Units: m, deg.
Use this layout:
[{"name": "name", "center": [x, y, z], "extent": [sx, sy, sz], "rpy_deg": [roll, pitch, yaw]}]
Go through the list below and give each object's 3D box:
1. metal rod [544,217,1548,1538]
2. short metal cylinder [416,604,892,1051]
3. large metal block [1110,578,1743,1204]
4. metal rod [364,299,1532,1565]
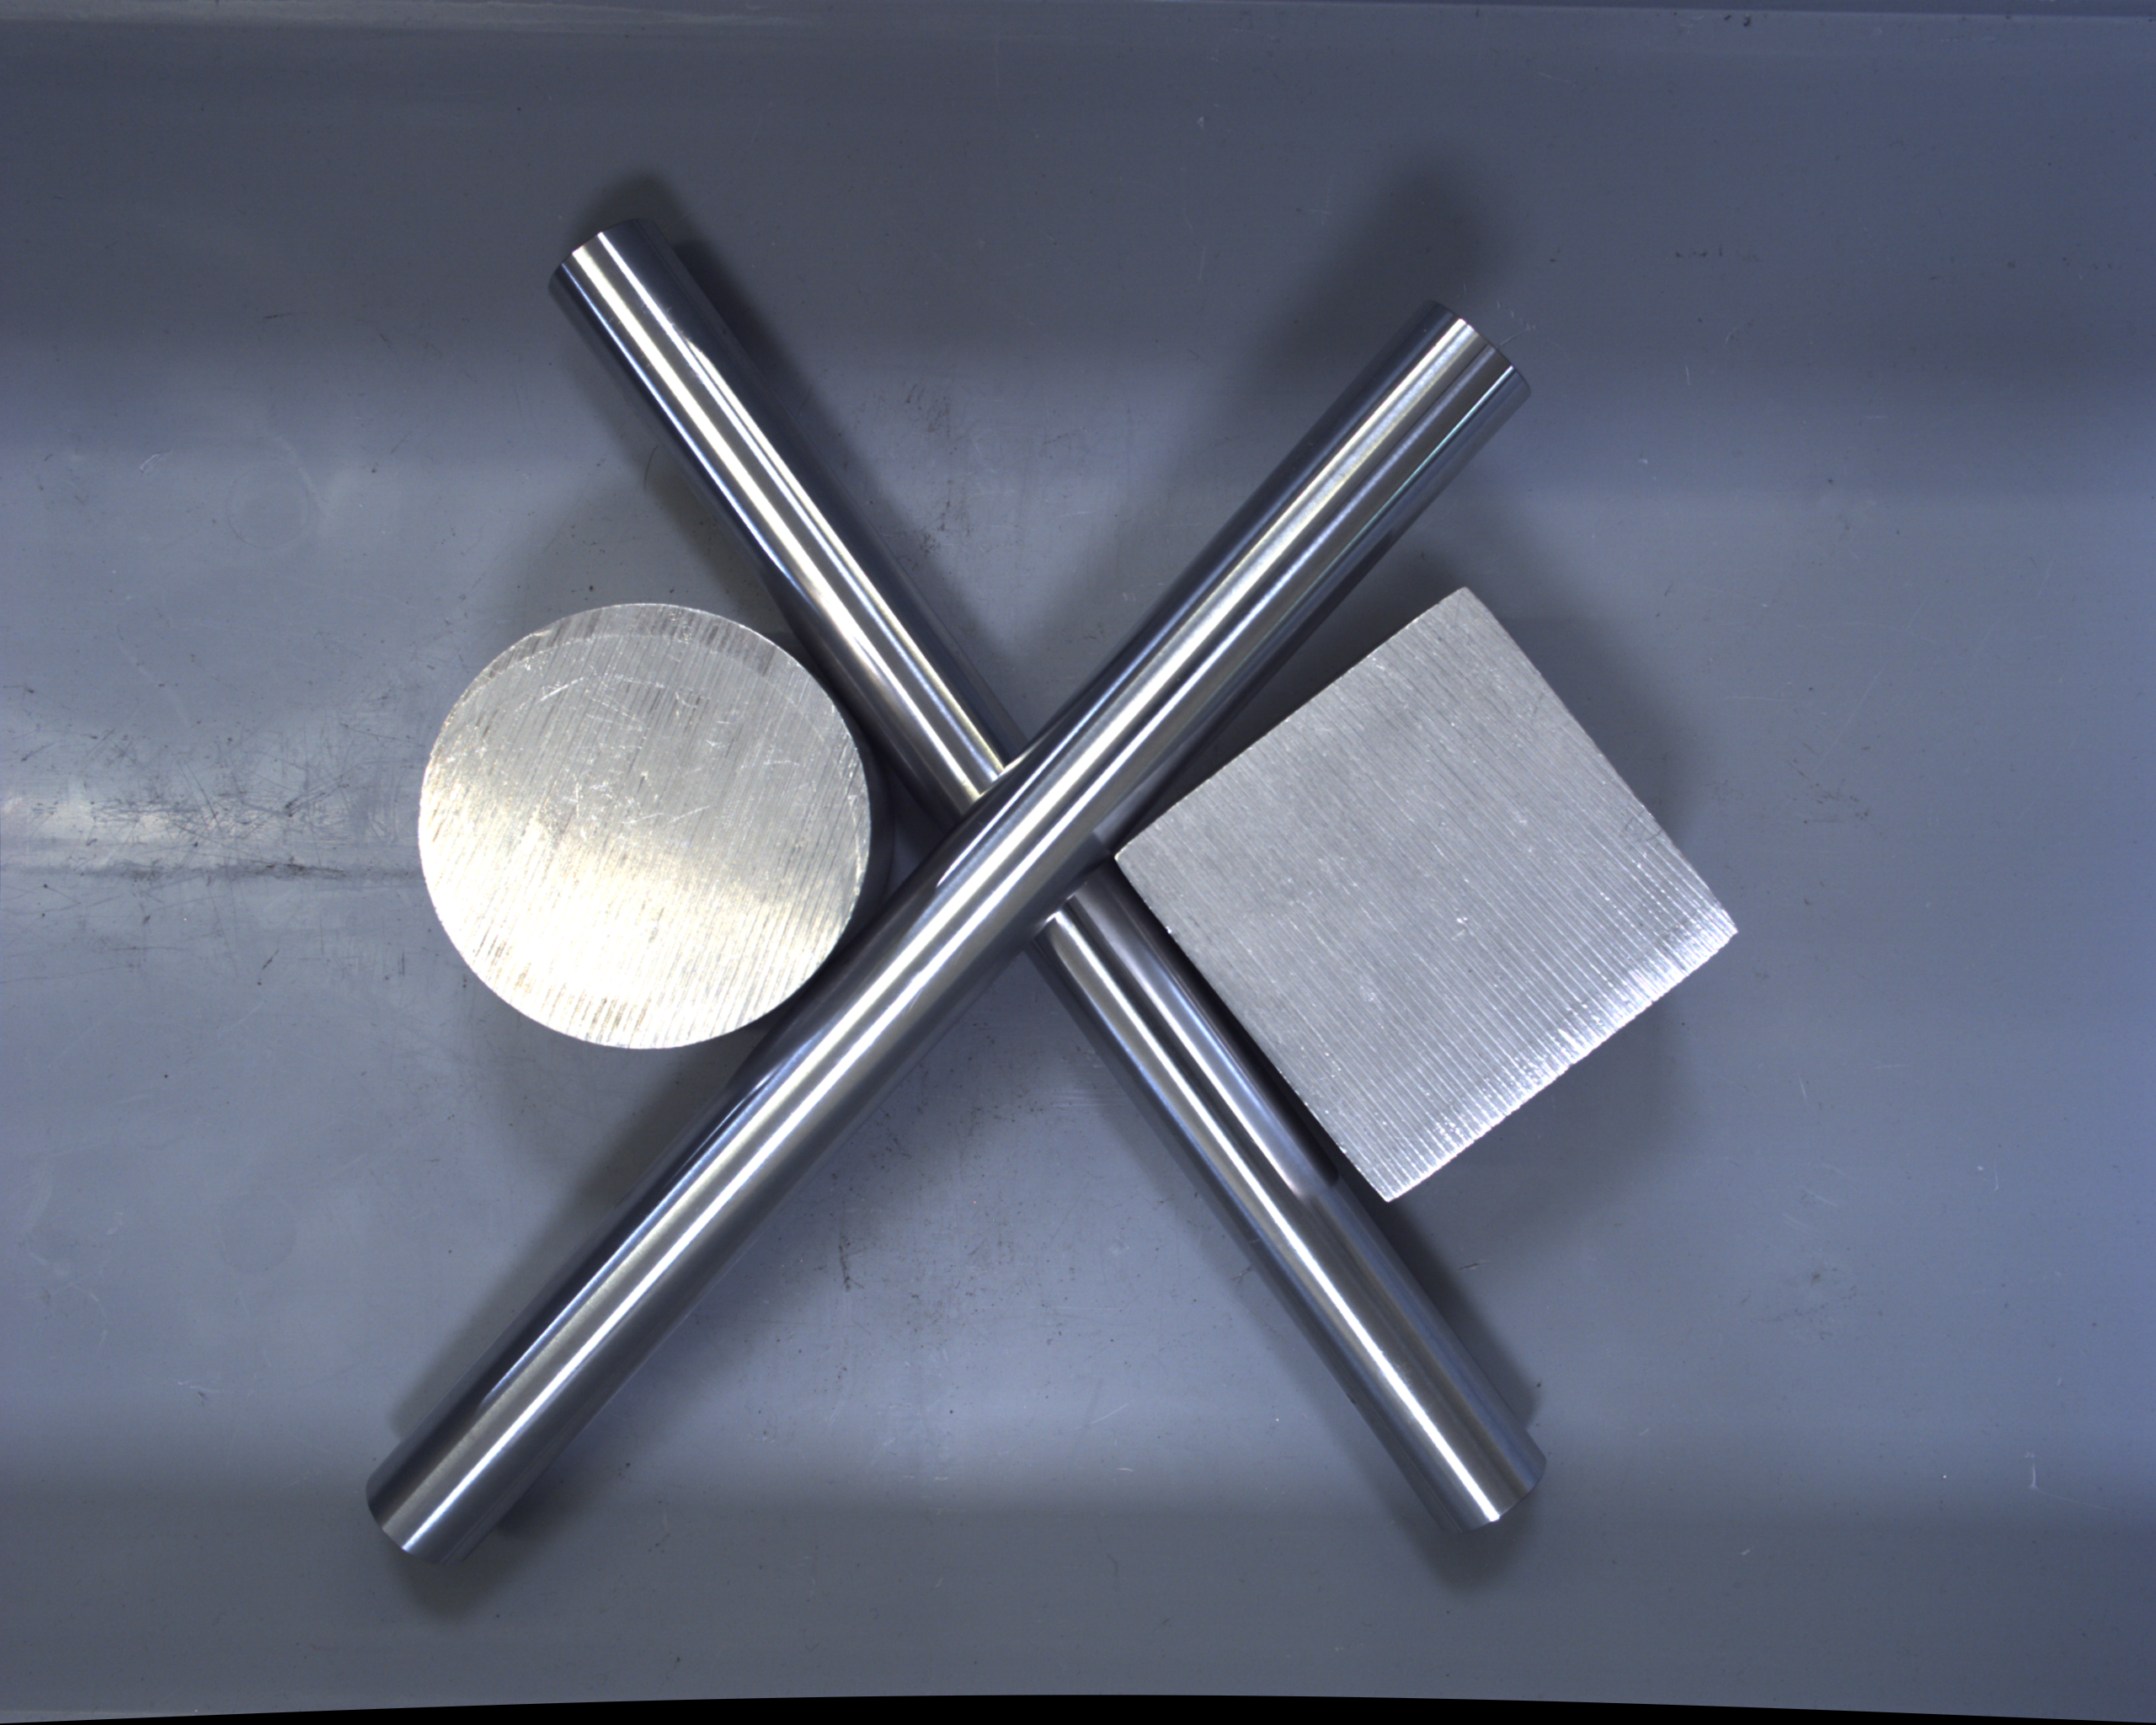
[{"name": "metal rod", "center": [-0.006, 0.003, 0.409], "extent": [0.025, 0.025, 0.299], "rpy_deg": [-36, 90, 0]}, {"name": "short metal cylinder", "center": [-0.078, -0.006, 0.396], "extent": [0.081, 0.050, 0.079], "rpy_deg": [0, 90, 0]}, {"name": "large metal block", "center": [0.062, 0.005, 0.397], "extent": [0.080, 0.050, 0.080], "rpy_deg": [-38, 90, 0]}, {"name": "metal rod", "center": [-0.029, 0.019, 0.388], "extent": [0.025, 0.025, 0.299], "rpy_deg": [42, 98, 0]}]
